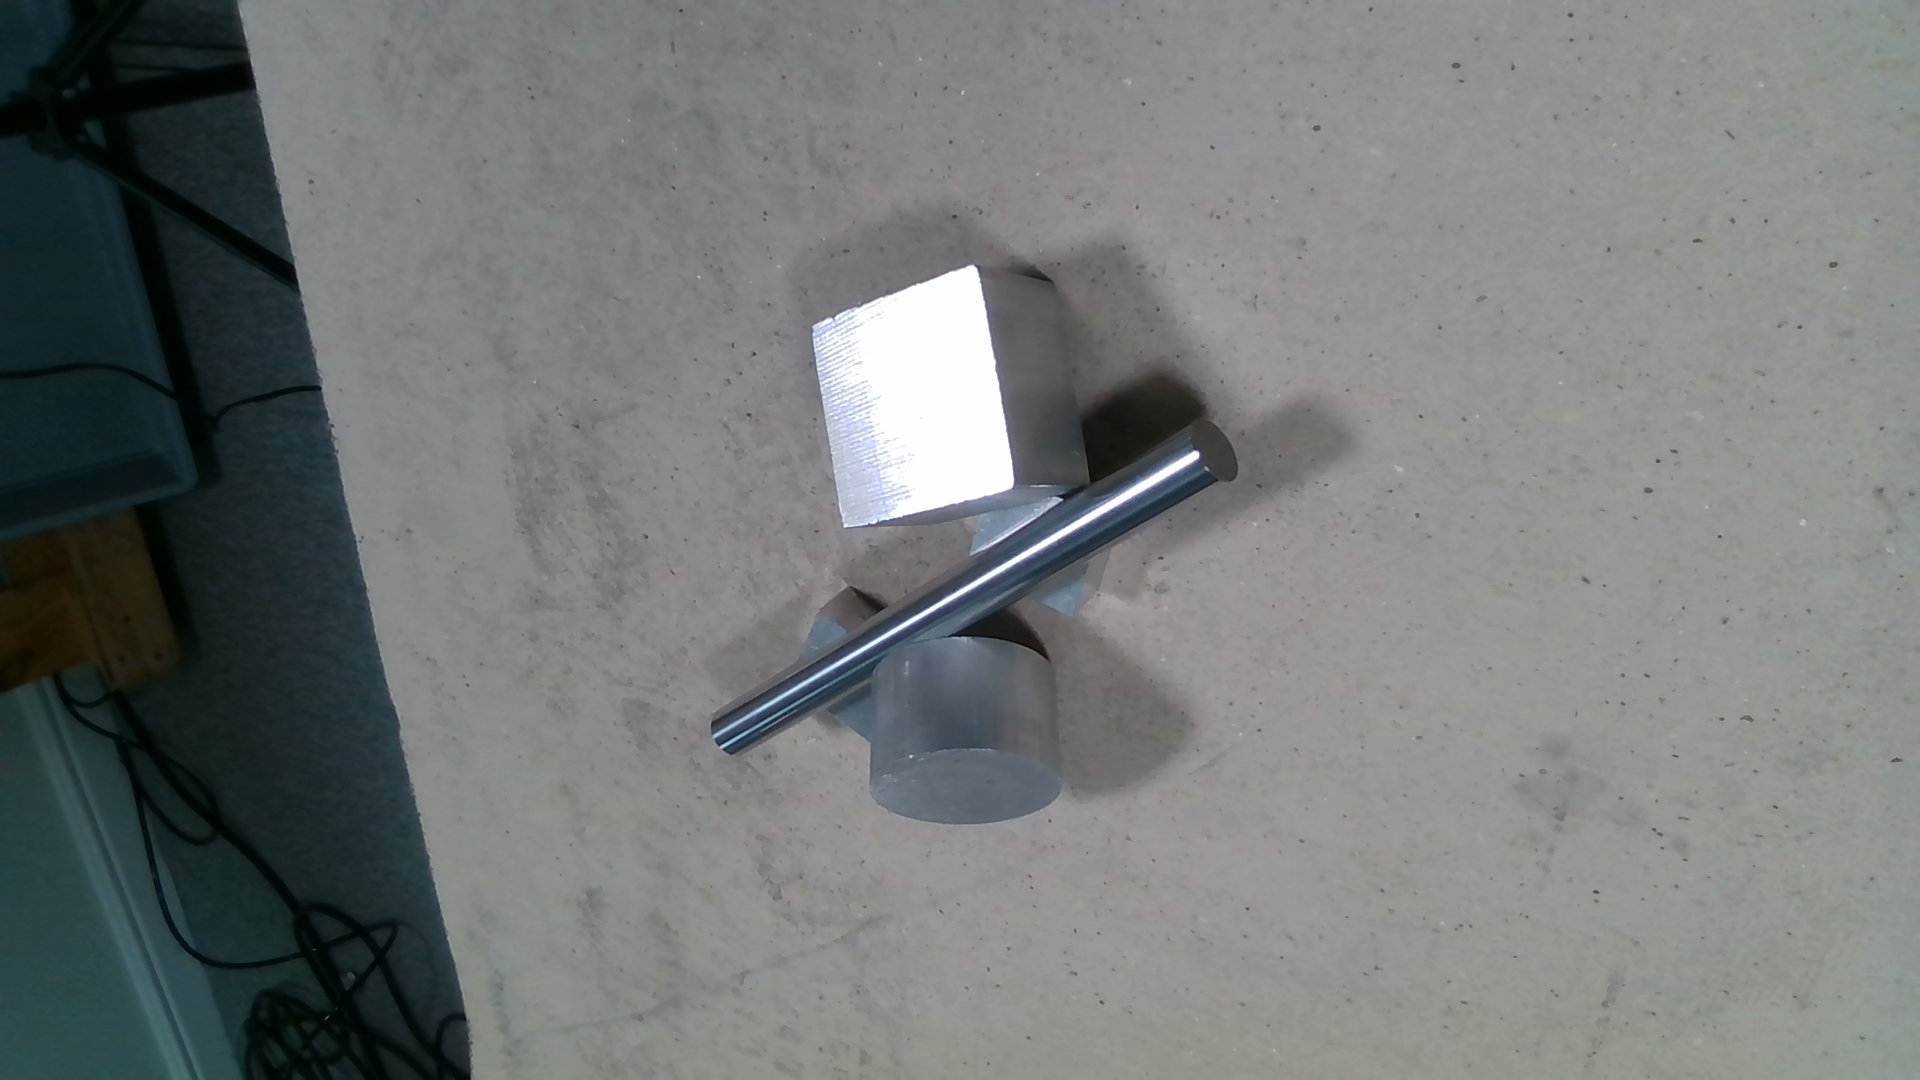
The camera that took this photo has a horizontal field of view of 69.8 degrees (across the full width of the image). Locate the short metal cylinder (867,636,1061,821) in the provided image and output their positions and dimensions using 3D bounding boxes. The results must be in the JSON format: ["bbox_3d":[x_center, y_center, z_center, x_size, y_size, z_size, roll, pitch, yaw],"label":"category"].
[{"bbox_3d":[0.001,0.082,0.582,0.080,0.050,0.080,-1,148,0],"label":"short metal cylinder"}]

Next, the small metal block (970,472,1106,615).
[{"bbox_3d":[0.034,-0.005,0.557,0.050,0.025,0.050,25,126,18],"label":"small metal block"}]

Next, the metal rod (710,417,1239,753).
[{"bbox_3d":[-0.011,0.030,0.571,0.301,0.025,0.025,-32,96,39],"label":"metal rod"}]

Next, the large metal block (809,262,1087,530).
[{"bbox_3d":[-0.005,-0.051,0.518,0.080,0.050,0.080,-12,85,36],"label":"large metal block"}]

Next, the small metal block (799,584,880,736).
[{"bbox_3d":[-0.047,0.057,0.641,0.050,0.025,0.050,35,128,11],"label":"small metal block"}]
